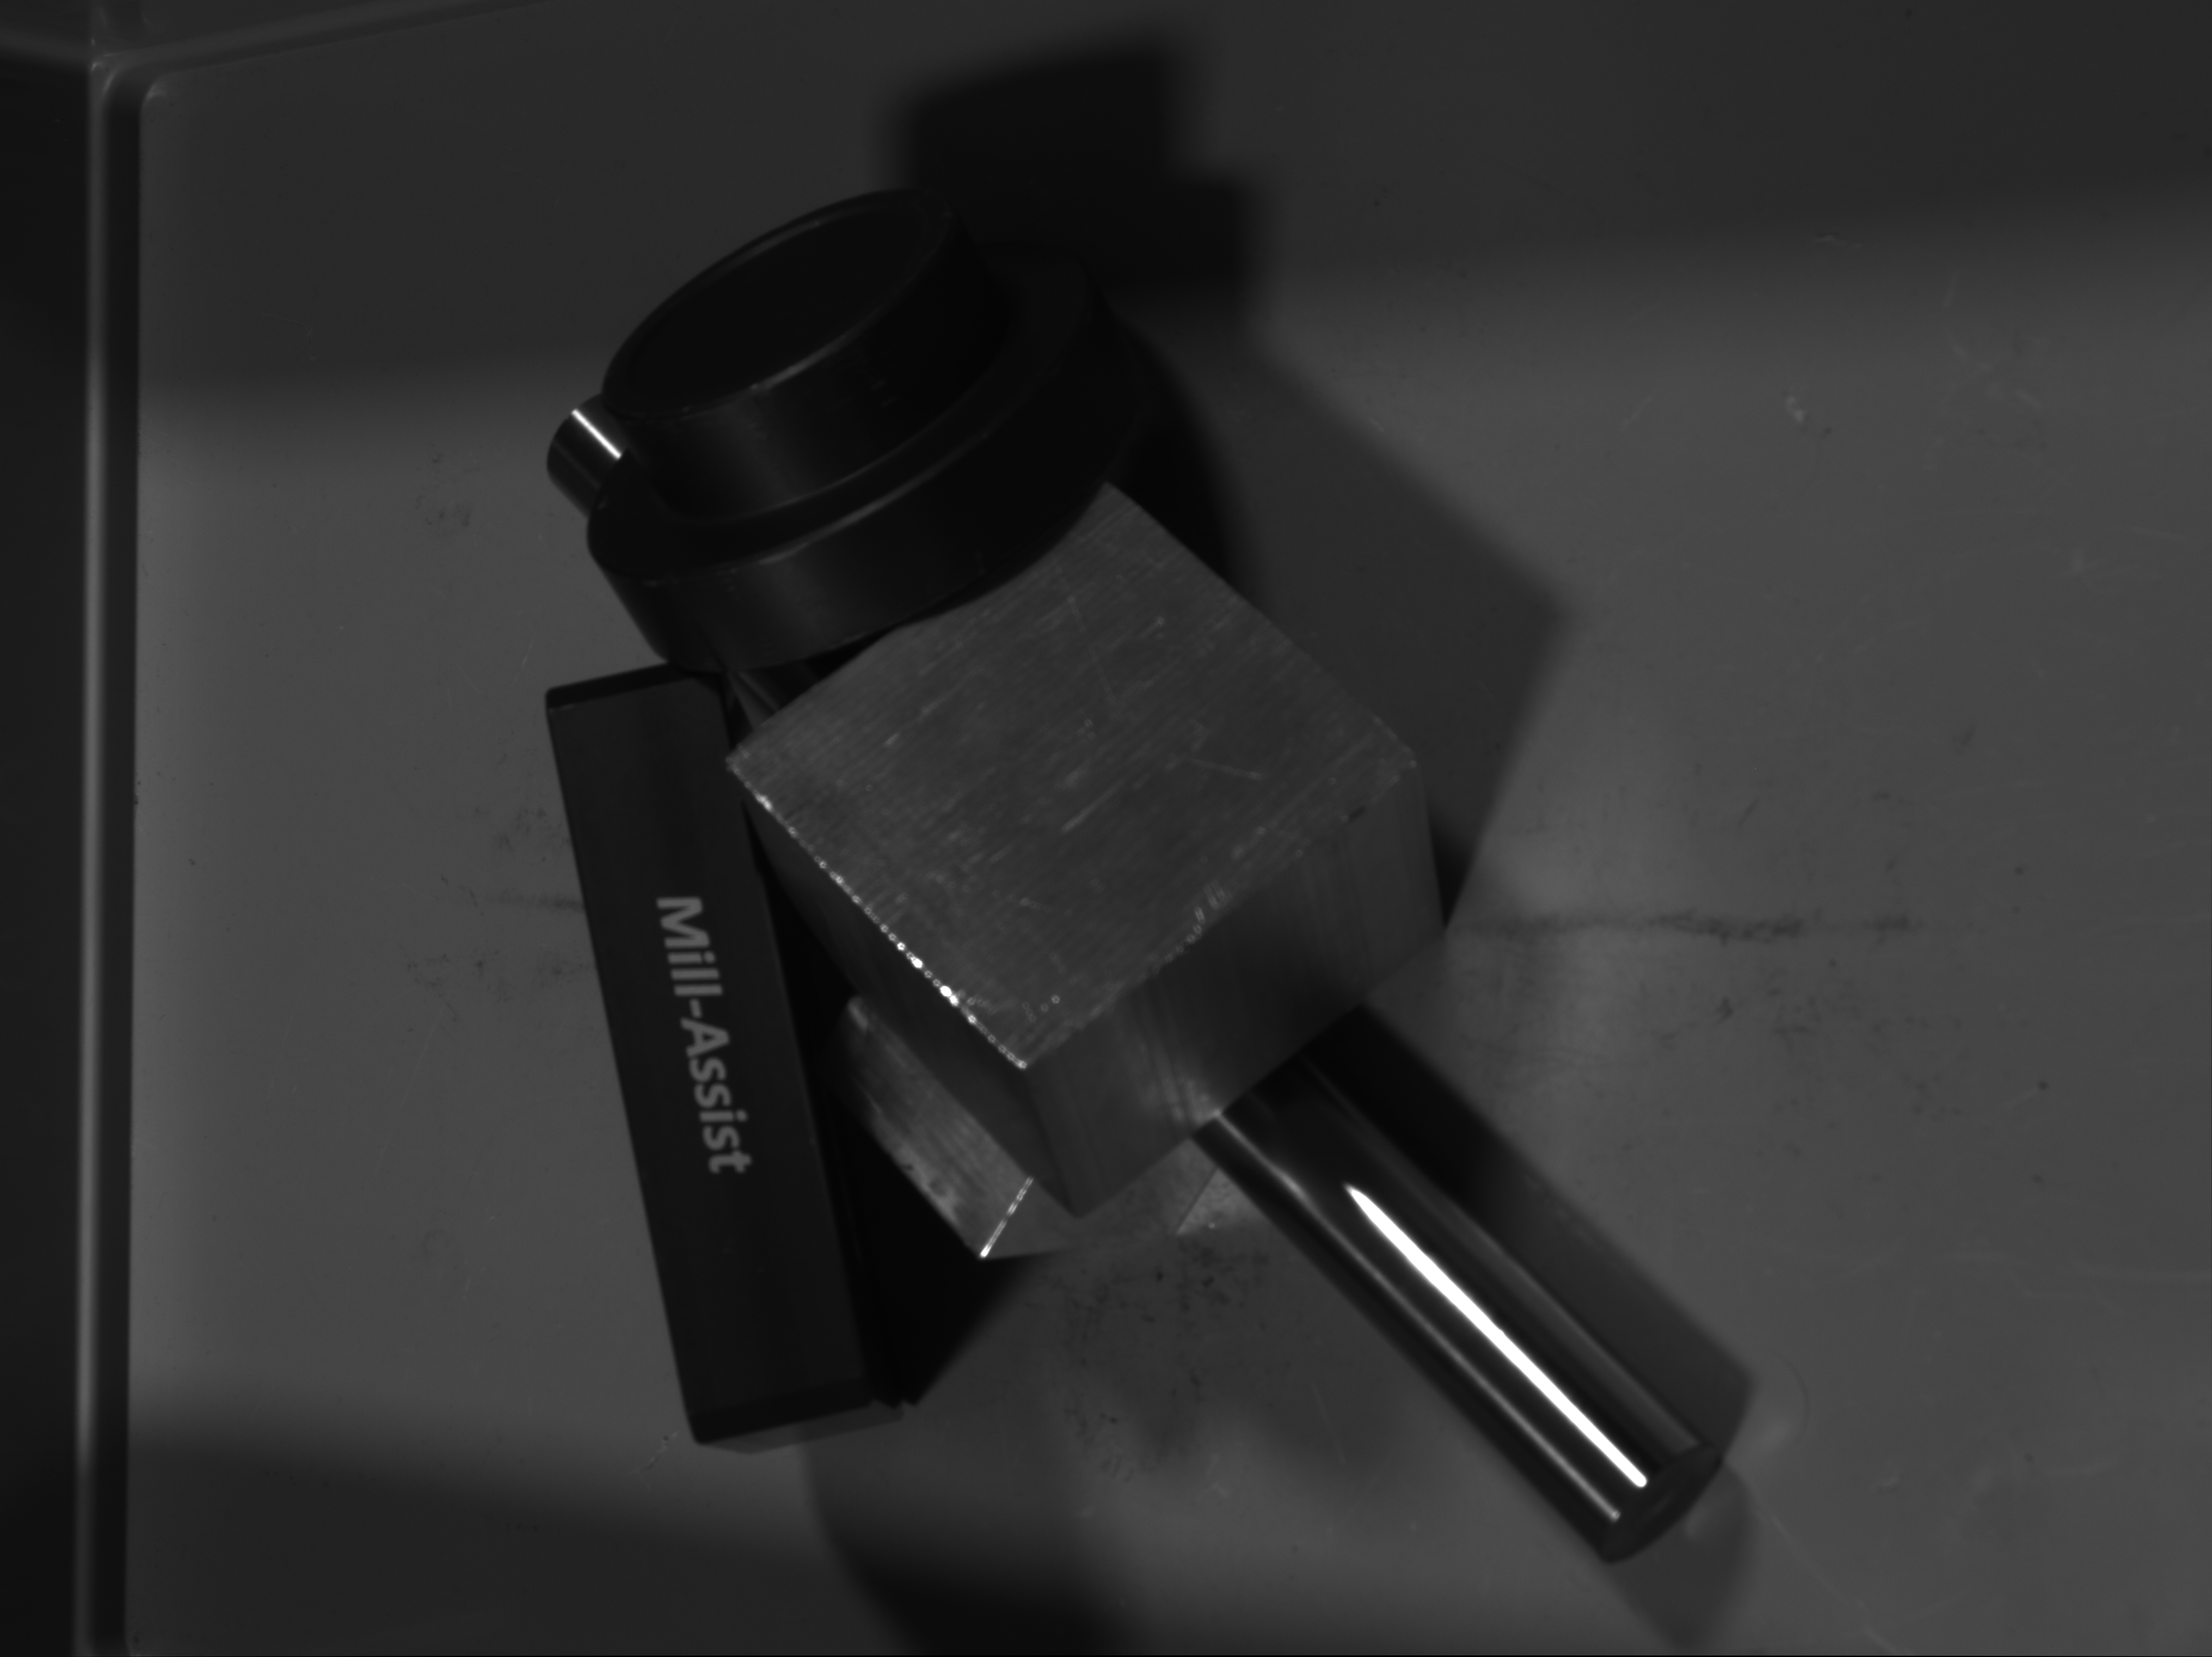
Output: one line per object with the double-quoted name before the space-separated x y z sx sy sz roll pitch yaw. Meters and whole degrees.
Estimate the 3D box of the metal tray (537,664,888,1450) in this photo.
"metal tray" -0.068 0.043 0.651 0.030 0.090 0.130 -12 79 -2

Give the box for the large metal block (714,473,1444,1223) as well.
"large metal block" -0.003 0.002 0.596 0.080 0.050 0.080 -37 58 -14

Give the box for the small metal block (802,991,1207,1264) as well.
"small metal block" -0.015 0.047 0.631 0.050 0.050 0.025 45 117 30

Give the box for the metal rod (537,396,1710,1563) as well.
"metal rod" -0.008 0.014 0.642 0.299 0.025 0.025 44 116 31

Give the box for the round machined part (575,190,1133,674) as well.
"round machined part" -0.048 -0.073 0.625 0.098 0.098 0.042 -2 129 39
